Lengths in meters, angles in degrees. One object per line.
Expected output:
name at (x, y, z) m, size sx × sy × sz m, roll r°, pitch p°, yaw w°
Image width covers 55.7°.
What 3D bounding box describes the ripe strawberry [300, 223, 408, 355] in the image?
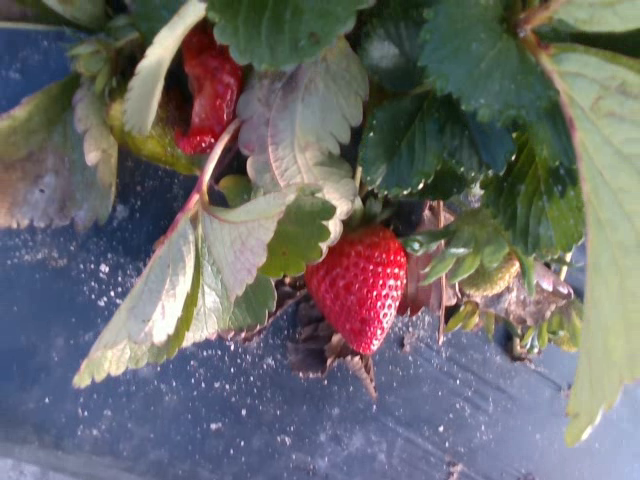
ripe strawberry at (0.008, 0.013, 0.148) m, size 0.031 × 0.030 × 0.025 m, roll -7°, pitch 1°, yaw 4°
